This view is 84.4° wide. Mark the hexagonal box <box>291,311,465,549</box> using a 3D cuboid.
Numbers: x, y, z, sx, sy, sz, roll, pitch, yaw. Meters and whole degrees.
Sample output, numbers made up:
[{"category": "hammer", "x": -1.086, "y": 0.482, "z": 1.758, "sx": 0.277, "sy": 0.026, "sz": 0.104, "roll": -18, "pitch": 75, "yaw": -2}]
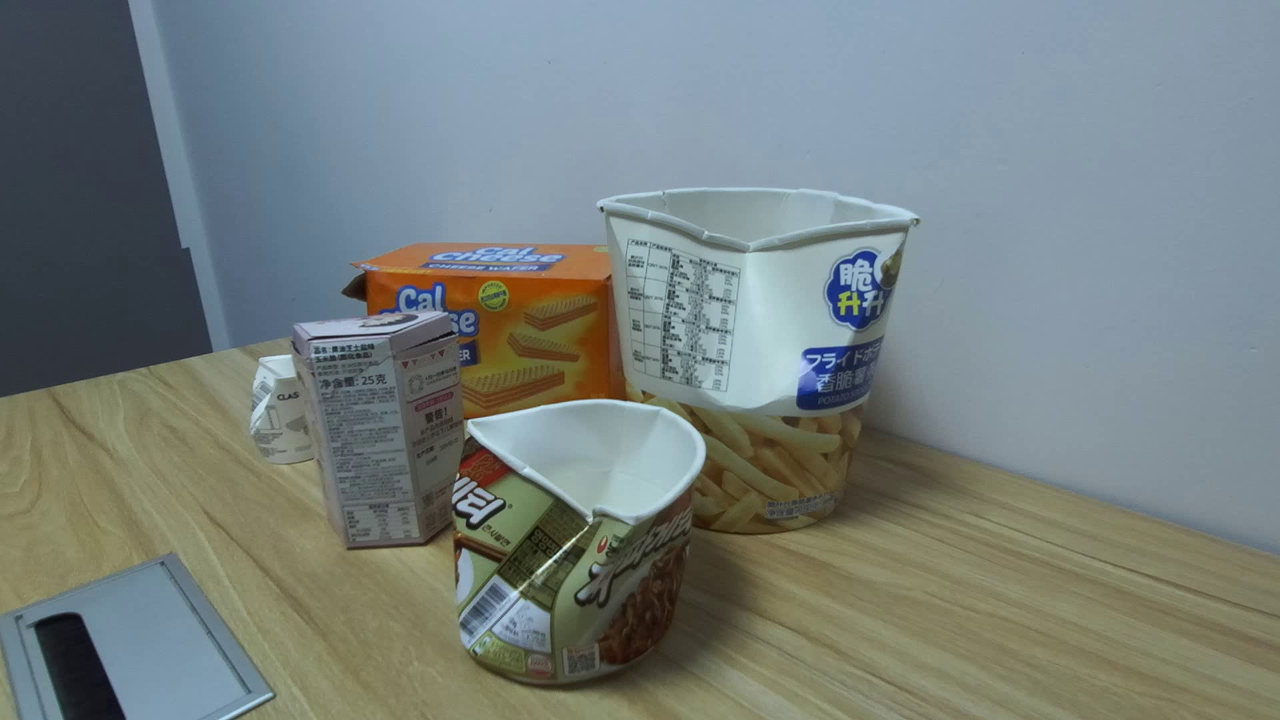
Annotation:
[{"category": "hexagonal box", "x": -0.158, "y": 0.039, "z": 0.440, "sx": 0.084, "sy": 0.135, "sz": 0.092, "roll": 8, "pitch": 21, "yaw": 25}]

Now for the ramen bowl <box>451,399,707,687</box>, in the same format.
[{"category": "ramen bowl", "x": -0.028, "y": 0.087, "z": 0.358, "sx": 0.137, "sy": 0.098, "sz": 0.137, "roll": 2, "pitch": 22, "yaw": -1}]

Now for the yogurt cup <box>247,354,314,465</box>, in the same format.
[{"category": "yogurt cup", "x": -0.266, "y": 0.037, "z": 0.542, "sx": 0.067, "sy": 0.070, "sz": 0.067, "roll": -1, "pitch": 19, "yaw": 1}]

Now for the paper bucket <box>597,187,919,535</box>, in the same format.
[{"category": "paper bucket", "x": 0.060, "y": -0.007, "z": 0.468, "sx": 0.163, "sy": 0.202, "sz": 0.168, "roll": -6, "pitch": 18, "yaw": -10}]

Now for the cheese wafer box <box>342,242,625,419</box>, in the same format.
[{"category": "cheese wafer box", "x": -0.121, "y": -0.033, "z": 0.646, "sx": 0.227, "sy": 0.137, "sz": 0.149, "roll": 3, "pitch": 20, "yaw": 9}]
